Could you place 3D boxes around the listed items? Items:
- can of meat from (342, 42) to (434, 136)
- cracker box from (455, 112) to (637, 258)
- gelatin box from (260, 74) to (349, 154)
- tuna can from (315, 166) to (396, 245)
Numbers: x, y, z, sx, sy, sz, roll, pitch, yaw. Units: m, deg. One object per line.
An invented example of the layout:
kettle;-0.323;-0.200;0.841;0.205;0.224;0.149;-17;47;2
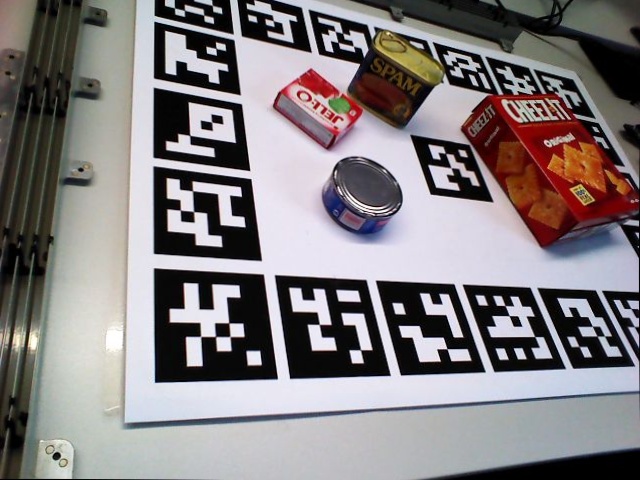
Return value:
can of meat;0.085;-0.198;0.693;0.102;0.084;0.057;28;49;-4
cracker box;0.322;-0.090;0.738;0.163;0.072;0.213;-11;61;-33
gelatin box;-0.017;-0.157;0.639;0.089;0.030;0.073;39;46;1
tuna can;0.039;-0.038;0.575;0.085;0.034;0.085;12;56;-18
